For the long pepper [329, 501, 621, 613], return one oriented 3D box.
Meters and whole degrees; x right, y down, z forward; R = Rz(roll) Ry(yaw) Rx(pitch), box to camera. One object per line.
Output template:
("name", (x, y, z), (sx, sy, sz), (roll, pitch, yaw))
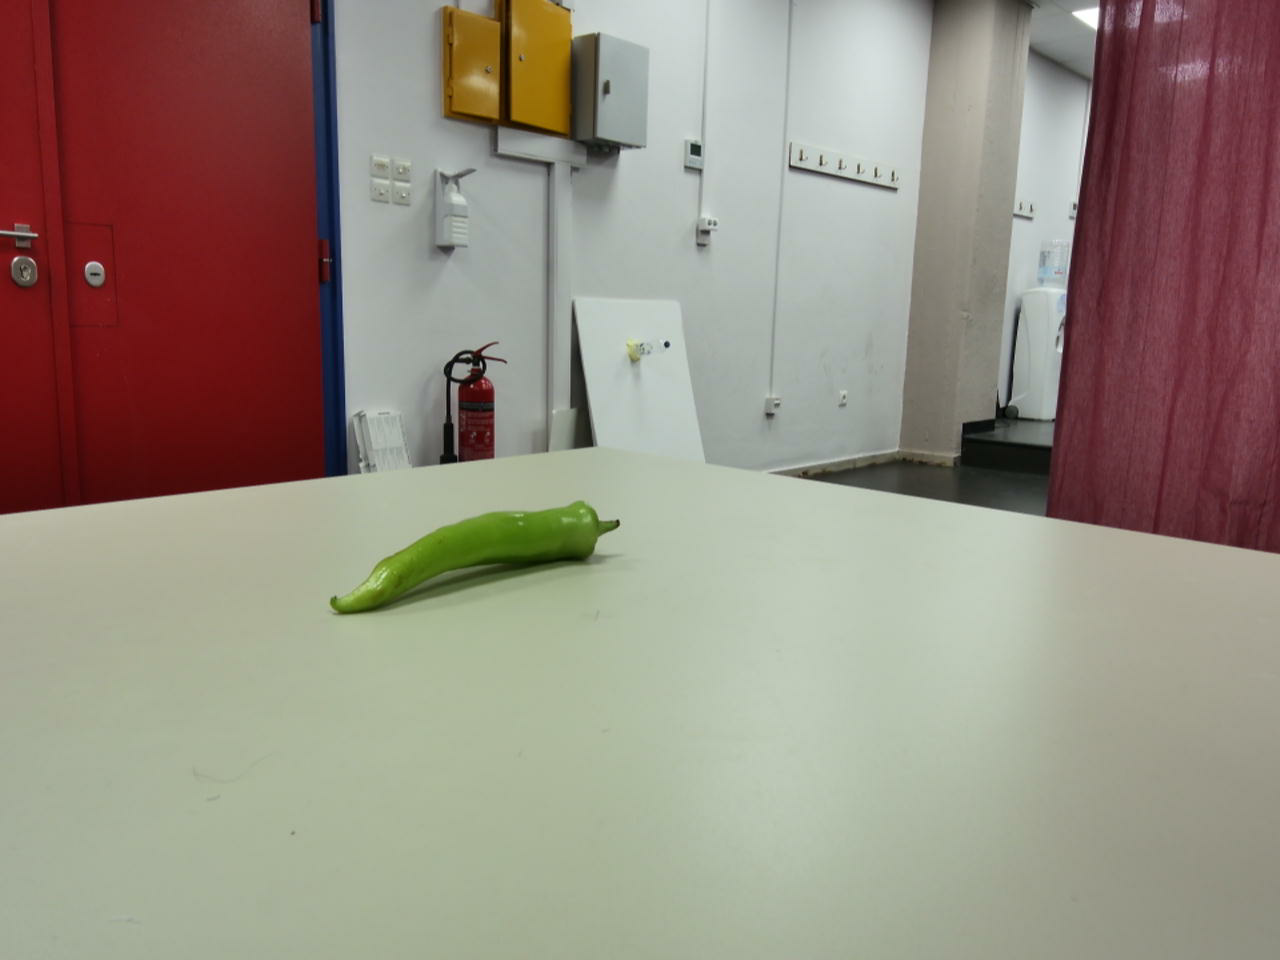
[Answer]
("long pepper", (-0.095, 0.039, 0.581), (0.047, 0.038, 0.197), (8, 11, 44))
